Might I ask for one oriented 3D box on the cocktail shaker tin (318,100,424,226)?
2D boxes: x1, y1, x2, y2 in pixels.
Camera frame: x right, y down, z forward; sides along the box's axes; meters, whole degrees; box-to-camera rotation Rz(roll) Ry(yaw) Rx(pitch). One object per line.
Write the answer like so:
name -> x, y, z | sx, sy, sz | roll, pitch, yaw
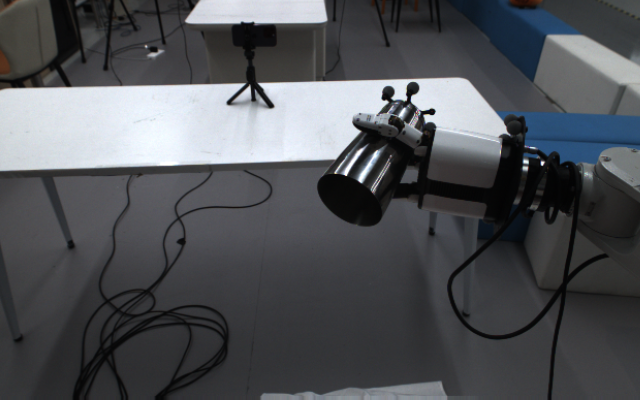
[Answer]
cocktail shaker tin -> 0.080, -0.062, 0.642 | 0.093, 0.093, 0.170 | 19, 55, 22
